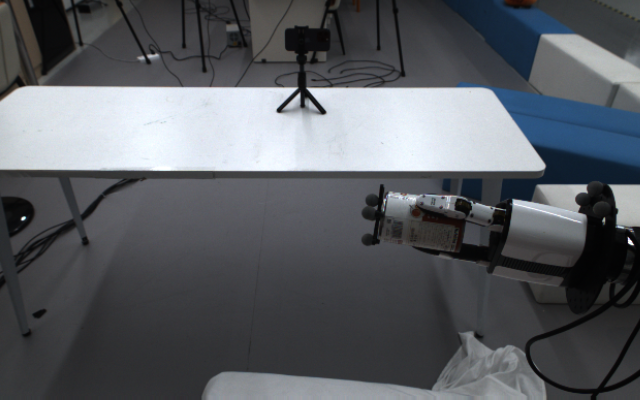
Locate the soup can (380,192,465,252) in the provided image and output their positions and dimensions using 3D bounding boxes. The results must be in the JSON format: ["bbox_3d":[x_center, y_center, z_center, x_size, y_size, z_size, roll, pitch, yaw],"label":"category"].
[{"bbox_3d":[0.133,0.027,0.624,0.101,0.067,0.067,8,35,9],"label":"soup can"}]
